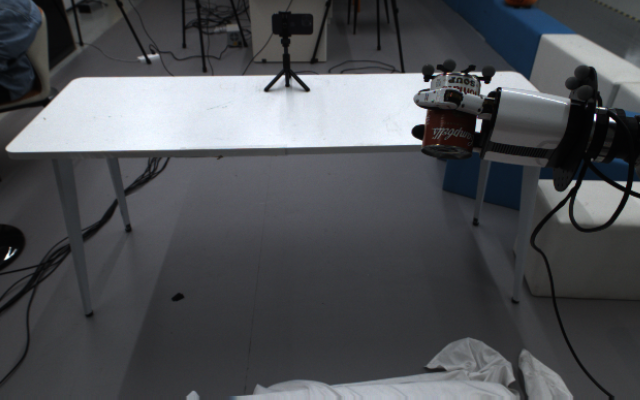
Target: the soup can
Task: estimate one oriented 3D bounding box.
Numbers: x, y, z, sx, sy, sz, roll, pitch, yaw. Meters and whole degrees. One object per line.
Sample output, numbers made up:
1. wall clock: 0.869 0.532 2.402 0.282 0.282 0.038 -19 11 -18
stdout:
1. soup can: 0.178 -0.113 0.652 0.067 0.101 0.067 9 -7 1
